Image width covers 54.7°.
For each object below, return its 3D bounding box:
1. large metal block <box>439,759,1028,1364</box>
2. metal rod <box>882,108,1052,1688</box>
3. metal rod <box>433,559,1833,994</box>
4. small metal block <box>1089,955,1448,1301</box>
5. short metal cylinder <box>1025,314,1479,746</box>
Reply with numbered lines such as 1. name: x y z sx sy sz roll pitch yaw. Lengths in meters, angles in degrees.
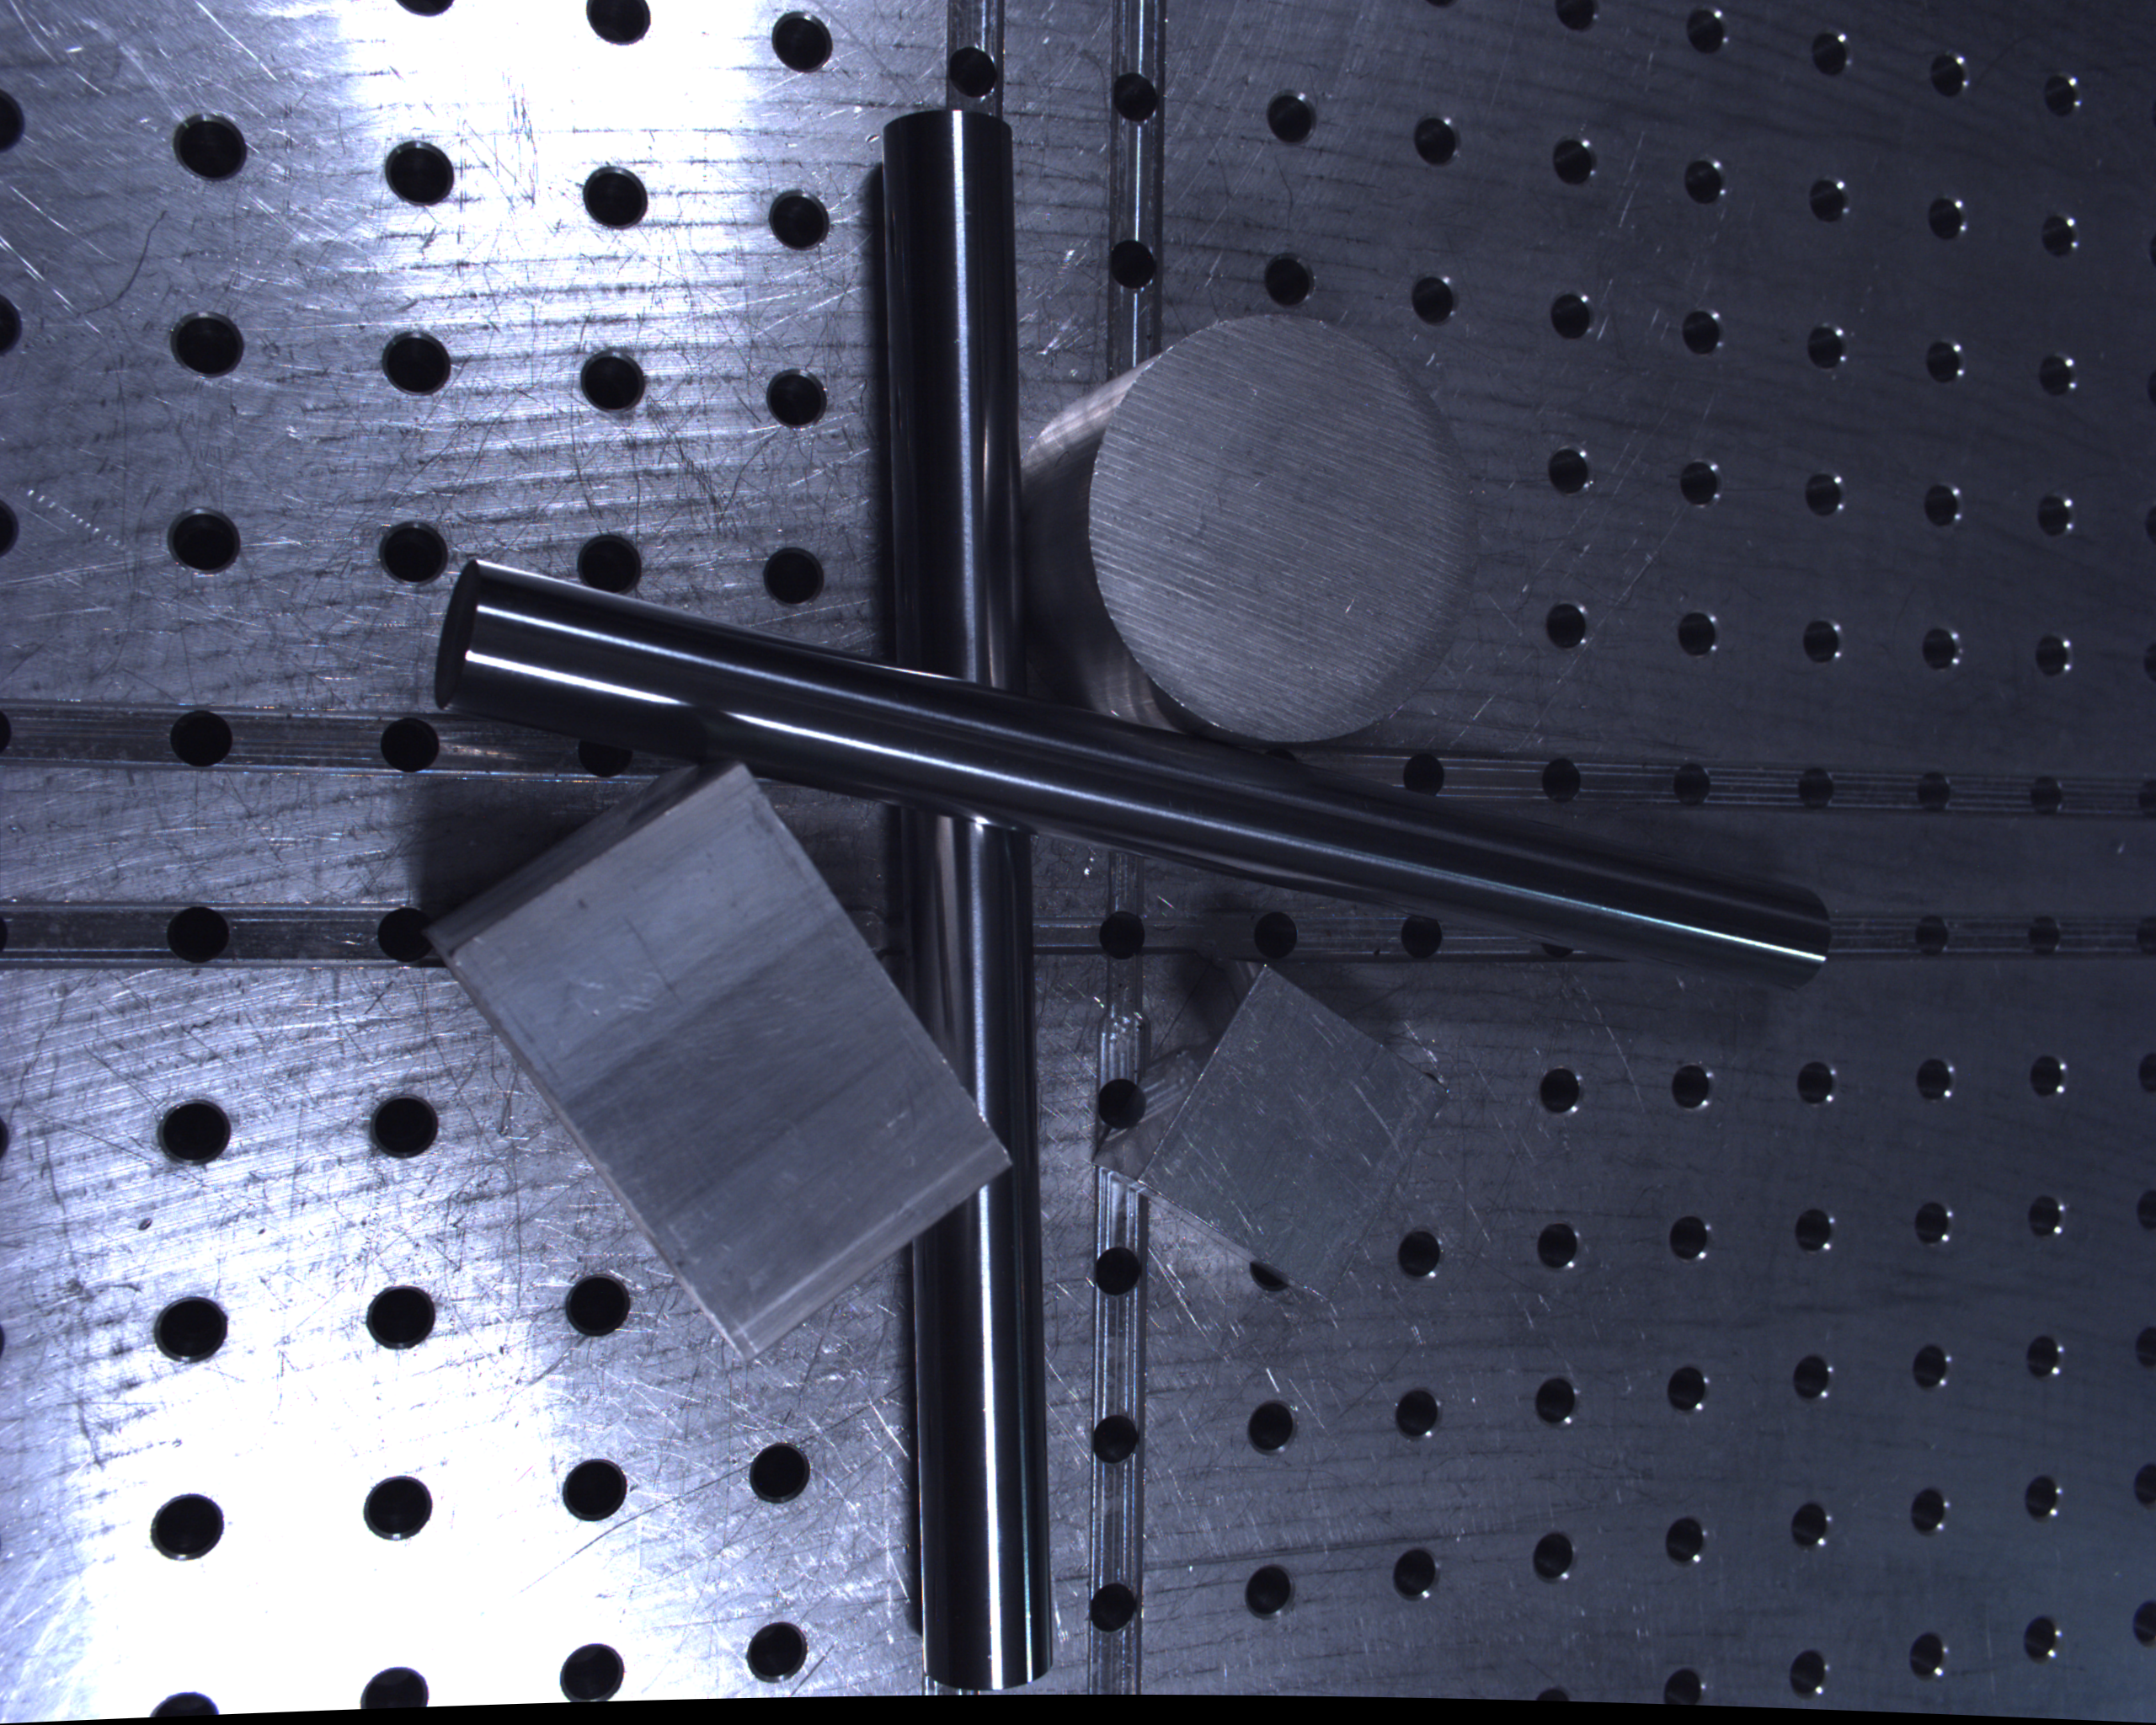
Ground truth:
1. large metal block: -0.063 0.031 0.360 0.050 0.080 0.080 -37 102 -16
2. metal rod: -0.022 0.007 0.406 0.025 0.025 0.298 -2 91 -20
3. metal rod: 0.031 -0.009 0.405 0.302 0.025 0.025 12 86 -28
4. small metal block: 0.039 0.054 0.429 0.050 0.025 0.050 35 79 -17
5. short metal cylinder: 0.031 -0.062 0.412 0.081 0.050 0.079 0 90 -21
